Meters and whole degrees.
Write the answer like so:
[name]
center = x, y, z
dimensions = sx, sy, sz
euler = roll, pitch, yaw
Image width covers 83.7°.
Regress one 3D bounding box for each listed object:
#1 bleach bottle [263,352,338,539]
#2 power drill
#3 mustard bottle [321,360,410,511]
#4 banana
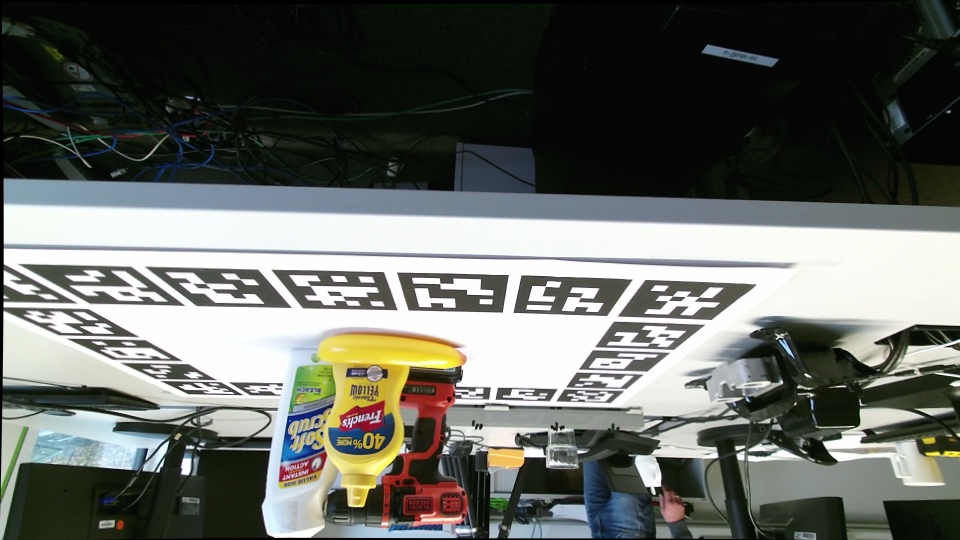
[bleach bottle]
center = -0.215, 0.236, 0.692
dimensions = 0.103, 0.249, 0.068
euler = 3, 157, -4
[power drill]
center = -0.104, 0.242, 0.708
dimensions = 0.185, 0.186, 0.057
euler = 9, 152, -11
[mustard bottle]
center = -0.142, 0.190, 0.654
dimensions = 0.096, 0.190, 0.058
euler = 3, 152, -1
[banana]
center = -0.119, 0.101, 0.668
dimensions = 0.198, 0.038, 0.074
euler = 2, 151, -7
